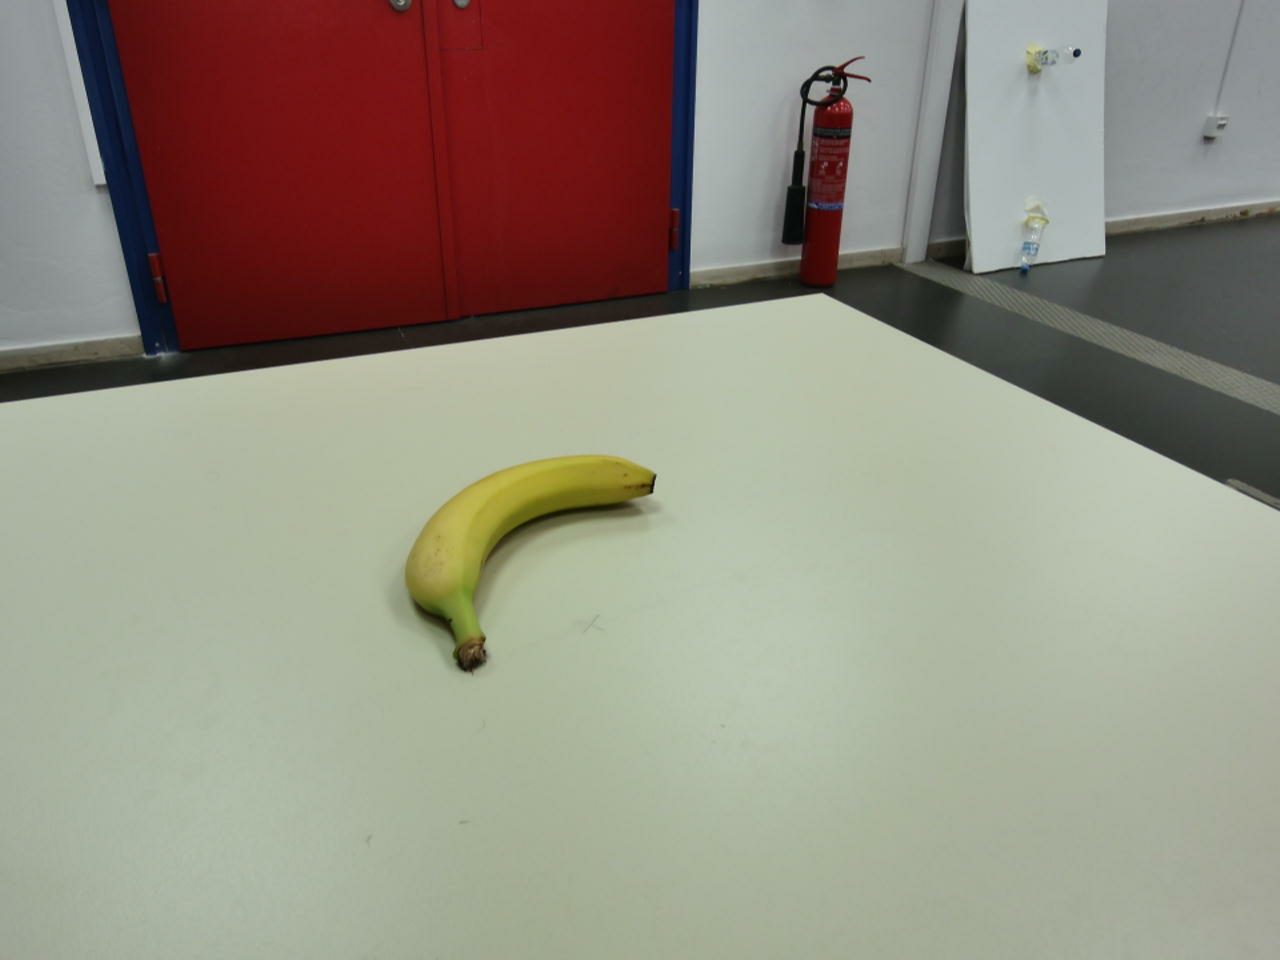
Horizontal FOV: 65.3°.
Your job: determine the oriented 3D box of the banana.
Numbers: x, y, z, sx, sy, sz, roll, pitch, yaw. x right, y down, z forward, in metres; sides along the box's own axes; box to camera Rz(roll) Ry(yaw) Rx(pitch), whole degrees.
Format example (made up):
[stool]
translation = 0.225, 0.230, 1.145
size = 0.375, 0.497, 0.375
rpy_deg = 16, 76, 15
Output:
[banana]
translation = -0.073, 0.029, 0.576
size = 0.094, 0.041, 0.196
rpy_deg = 14, 29, 26
